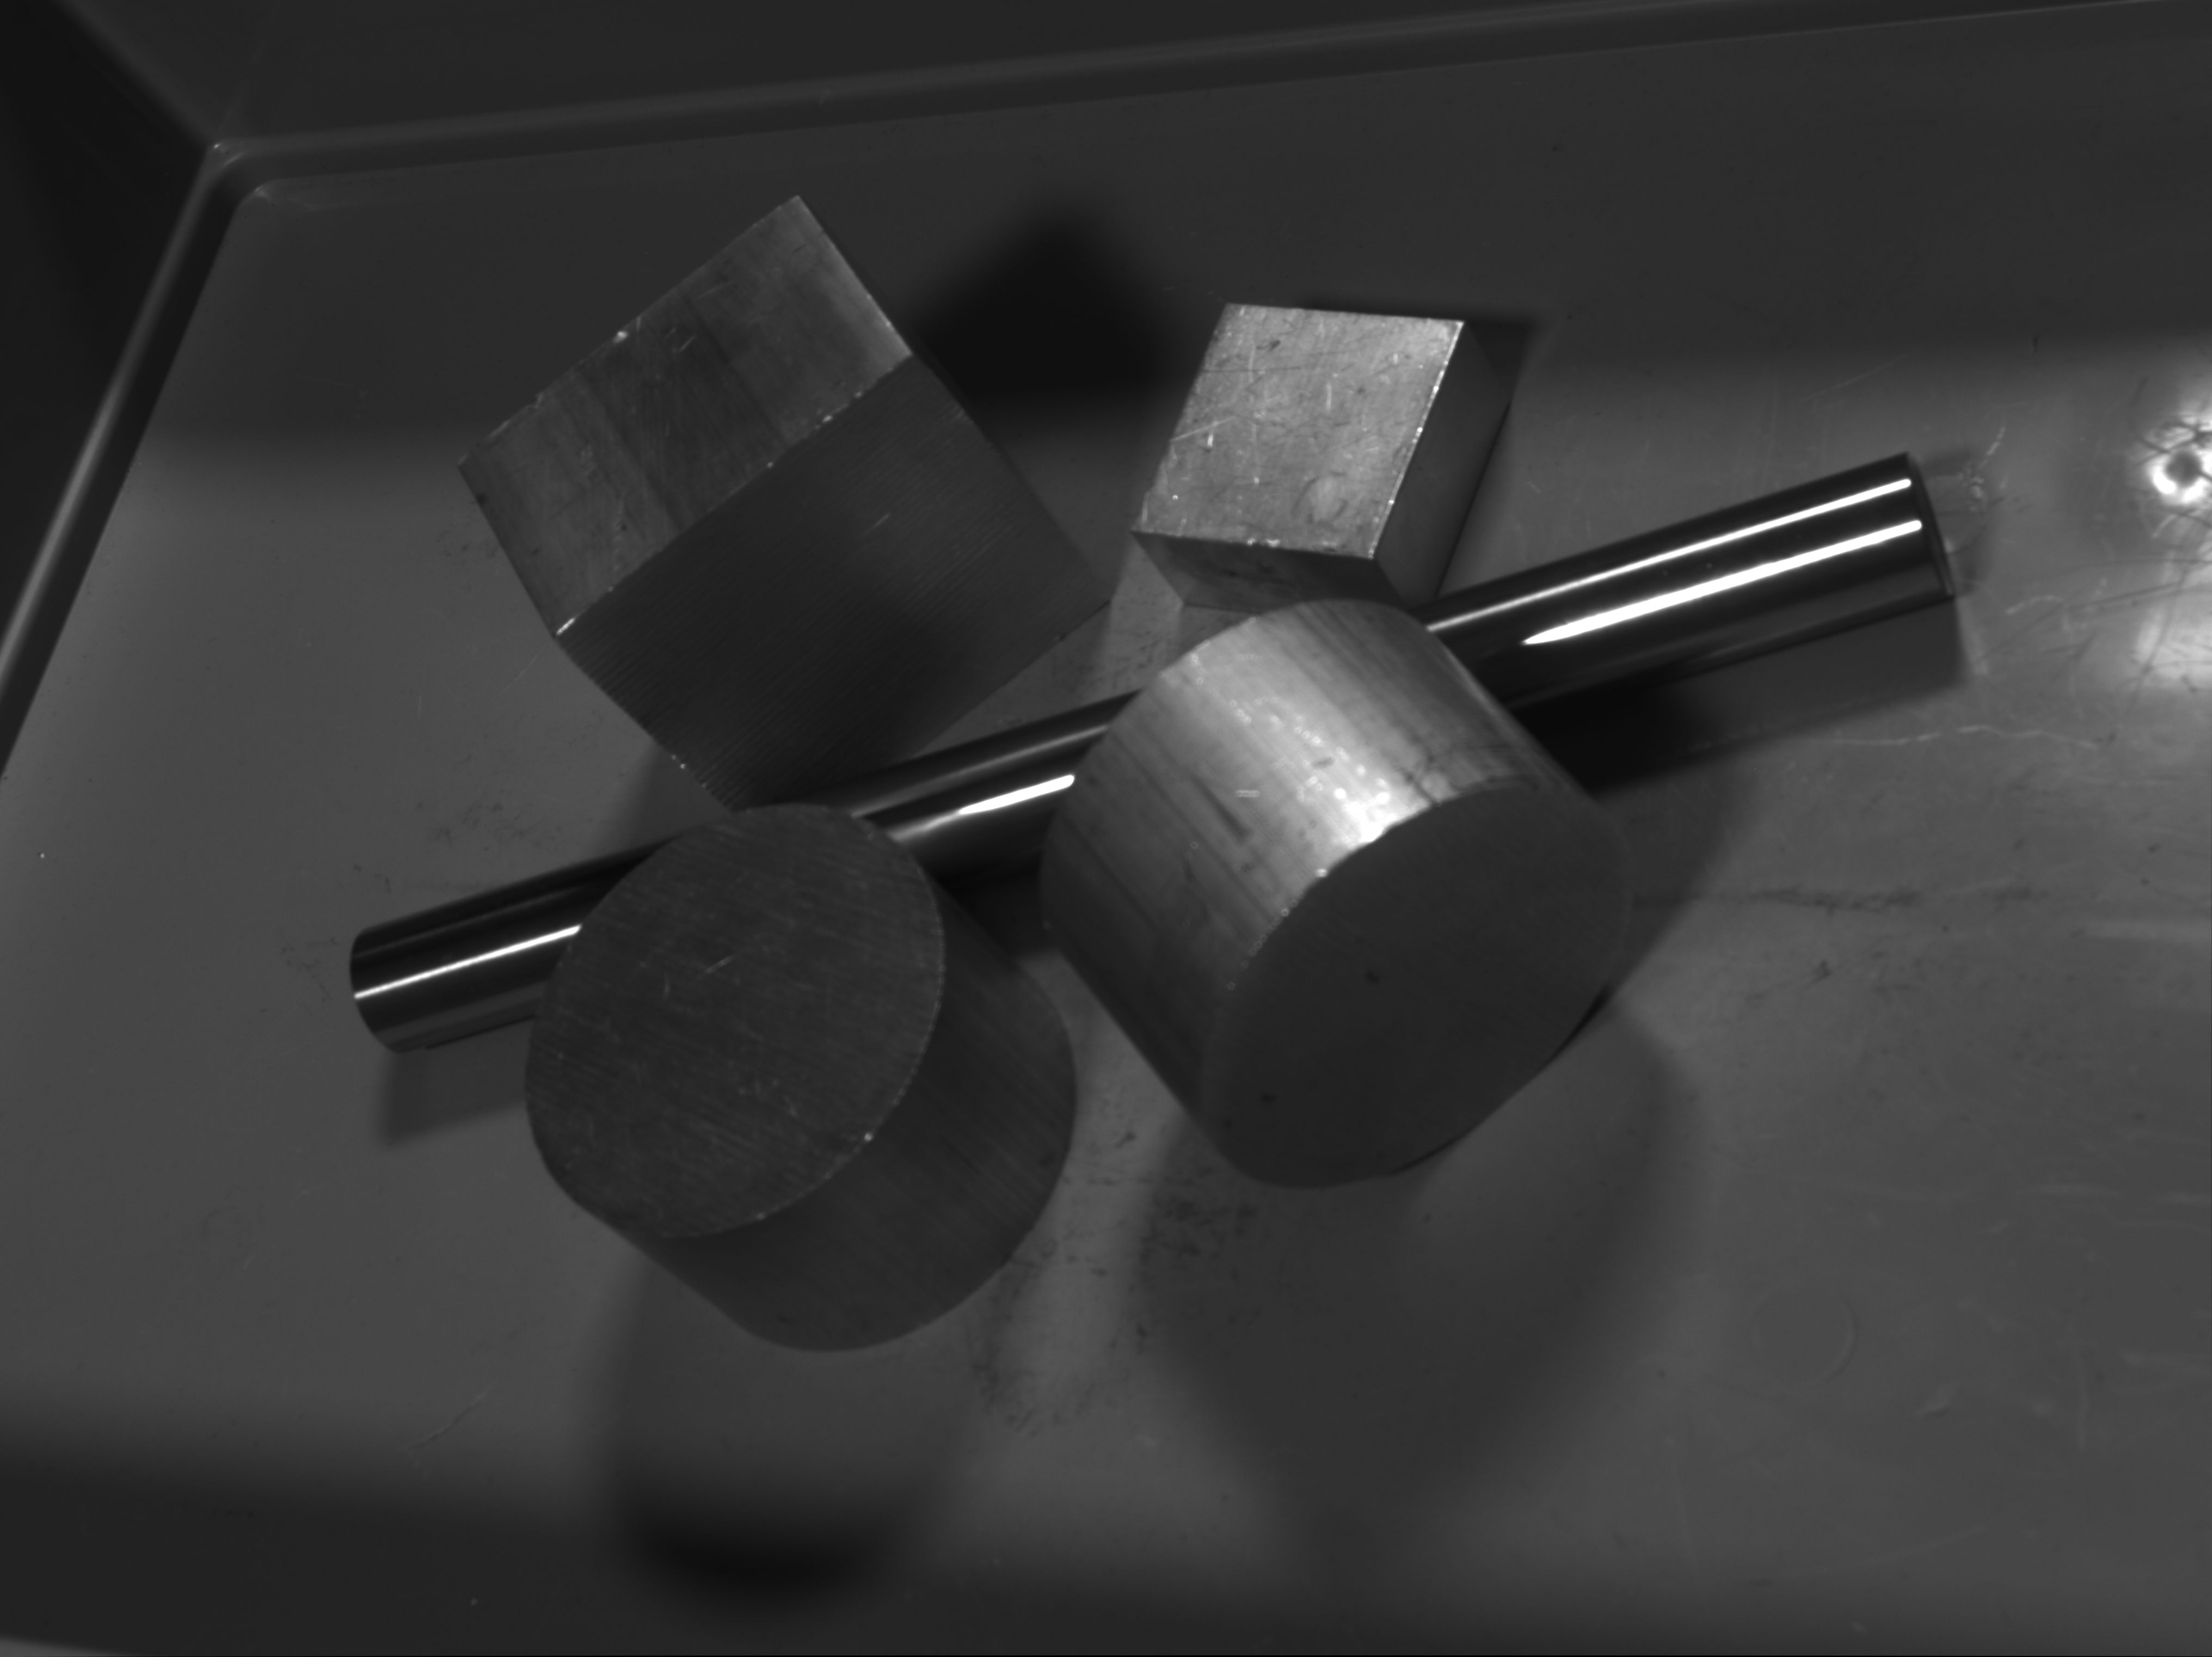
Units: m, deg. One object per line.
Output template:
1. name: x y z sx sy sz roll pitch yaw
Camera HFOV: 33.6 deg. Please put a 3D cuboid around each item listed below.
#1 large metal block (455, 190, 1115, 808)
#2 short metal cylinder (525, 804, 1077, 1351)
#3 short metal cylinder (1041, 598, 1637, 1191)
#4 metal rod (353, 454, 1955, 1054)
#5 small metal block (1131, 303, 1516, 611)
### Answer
1. large metal block: -0.058 -0.055 0.674 0.080 0.080 0.050 -37 51 3
2. short metal cylinder: -0.052 0.043 0.628 0.080 0.050 0.080 -13 56 21
3. short metal cylinder: 0.037 0.011 0.581 0.080 0.080 0.050 -40 51 1
4. metal rod: 0.000 -0.009 0.649 0.300 0.025 0.025 -16 55 19
5. small metal block: 0.040 -0.066 0.662 0.050 0.025 0.050 9 66 32
